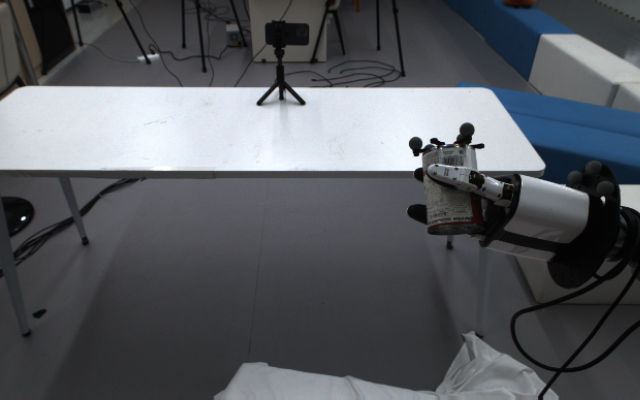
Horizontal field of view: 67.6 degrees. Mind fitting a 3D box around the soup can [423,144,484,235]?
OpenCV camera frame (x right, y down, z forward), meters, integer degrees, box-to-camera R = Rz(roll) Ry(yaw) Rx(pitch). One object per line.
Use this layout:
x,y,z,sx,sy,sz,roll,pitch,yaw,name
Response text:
0.164,-0.013,0.601,0.067,0.067,0.101,0,75,-3,soup can
